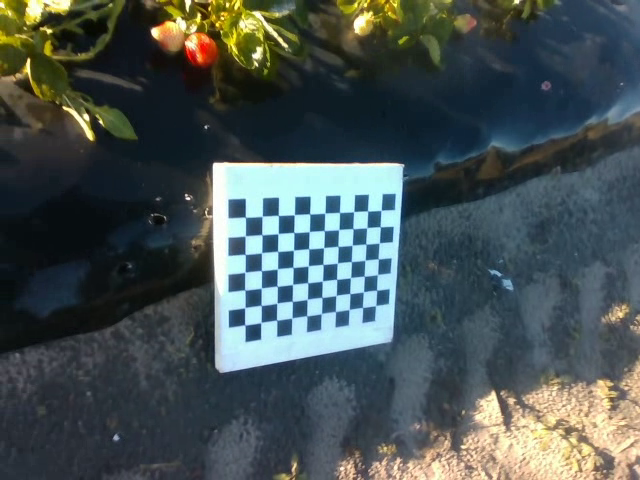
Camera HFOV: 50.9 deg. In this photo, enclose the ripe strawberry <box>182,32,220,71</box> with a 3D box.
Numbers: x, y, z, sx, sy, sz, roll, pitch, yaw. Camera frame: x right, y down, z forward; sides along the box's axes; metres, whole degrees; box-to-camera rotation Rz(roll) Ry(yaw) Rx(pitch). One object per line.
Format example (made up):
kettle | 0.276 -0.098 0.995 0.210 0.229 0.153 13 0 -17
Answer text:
ripe strawberry | -0.126 -0.205 0.724 0.040 0.038 0.056 -14 23 -1
